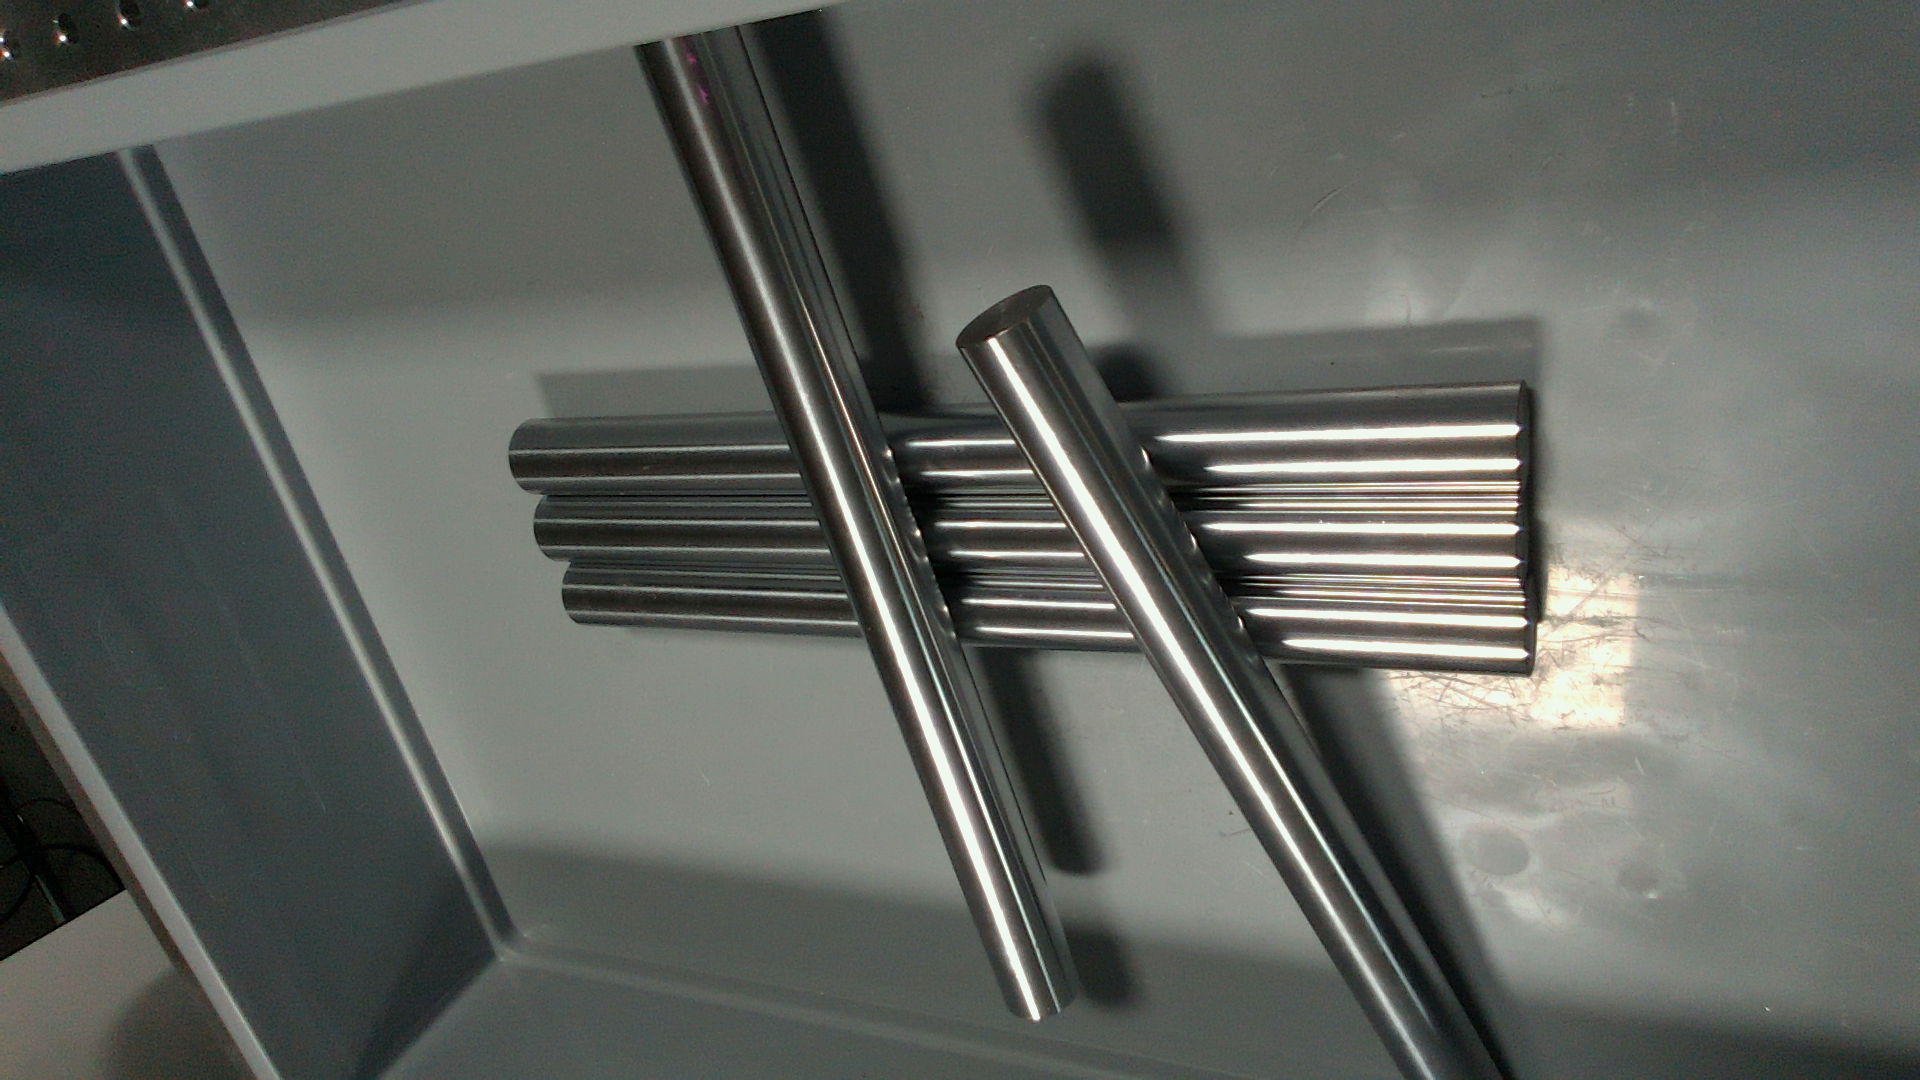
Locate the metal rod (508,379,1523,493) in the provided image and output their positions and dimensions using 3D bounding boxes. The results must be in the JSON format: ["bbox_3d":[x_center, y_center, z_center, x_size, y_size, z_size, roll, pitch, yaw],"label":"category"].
[{"bbox_3d":[-0.006,-0.025,0.379,0.299,0.025,0.025,1,119,28],"label":"metal rod"}]

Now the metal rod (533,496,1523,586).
[{"bbox_3d":[-0.002,-0.004,0.390,0.299,0.025,0.025,1,119,28],"label":"metal rod"}]

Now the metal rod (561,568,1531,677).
[{"bbox_3d":[0.005,0.018,0.401,0.299,0.025,0.025,1,119,28],"label":"metal rod"}]

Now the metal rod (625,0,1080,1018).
[{"bbox_3d":[-0.020,0.010,0.376,0.025,0.025,0.300,-5,116,31],"label":"metal rod"}]

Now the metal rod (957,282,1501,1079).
[{"bbox_3d":[0.086,0.067,0.361,0.025,0.025,0.300,-17,117,35],"label":"metal rod"}]
